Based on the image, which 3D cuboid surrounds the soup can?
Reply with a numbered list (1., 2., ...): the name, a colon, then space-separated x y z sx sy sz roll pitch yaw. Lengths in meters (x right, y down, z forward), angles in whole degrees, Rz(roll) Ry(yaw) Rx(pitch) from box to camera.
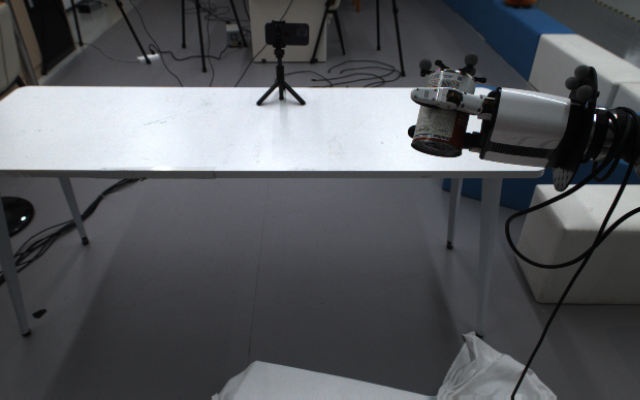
1. soup can: 0.168 -0.117 0.655 0.067 0.101 0.067 13 -7 2
